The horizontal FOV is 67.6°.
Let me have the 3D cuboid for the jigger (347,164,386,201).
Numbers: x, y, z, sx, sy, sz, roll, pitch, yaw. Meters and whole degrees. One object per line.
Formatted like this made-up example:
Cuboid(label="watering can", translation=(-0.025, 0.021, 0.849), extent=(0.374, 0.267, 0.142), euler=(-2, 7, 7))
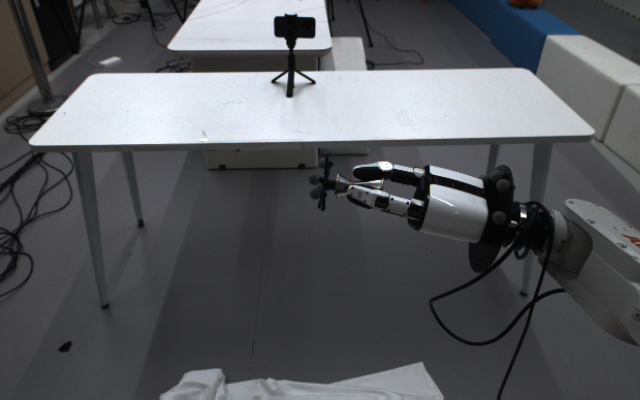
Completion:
Cuboid(label="jigger", translation=(0.065, -0.022, 0.716), extent=(0.071, 0.043, 0.043), euler=(7, 35, 8))
